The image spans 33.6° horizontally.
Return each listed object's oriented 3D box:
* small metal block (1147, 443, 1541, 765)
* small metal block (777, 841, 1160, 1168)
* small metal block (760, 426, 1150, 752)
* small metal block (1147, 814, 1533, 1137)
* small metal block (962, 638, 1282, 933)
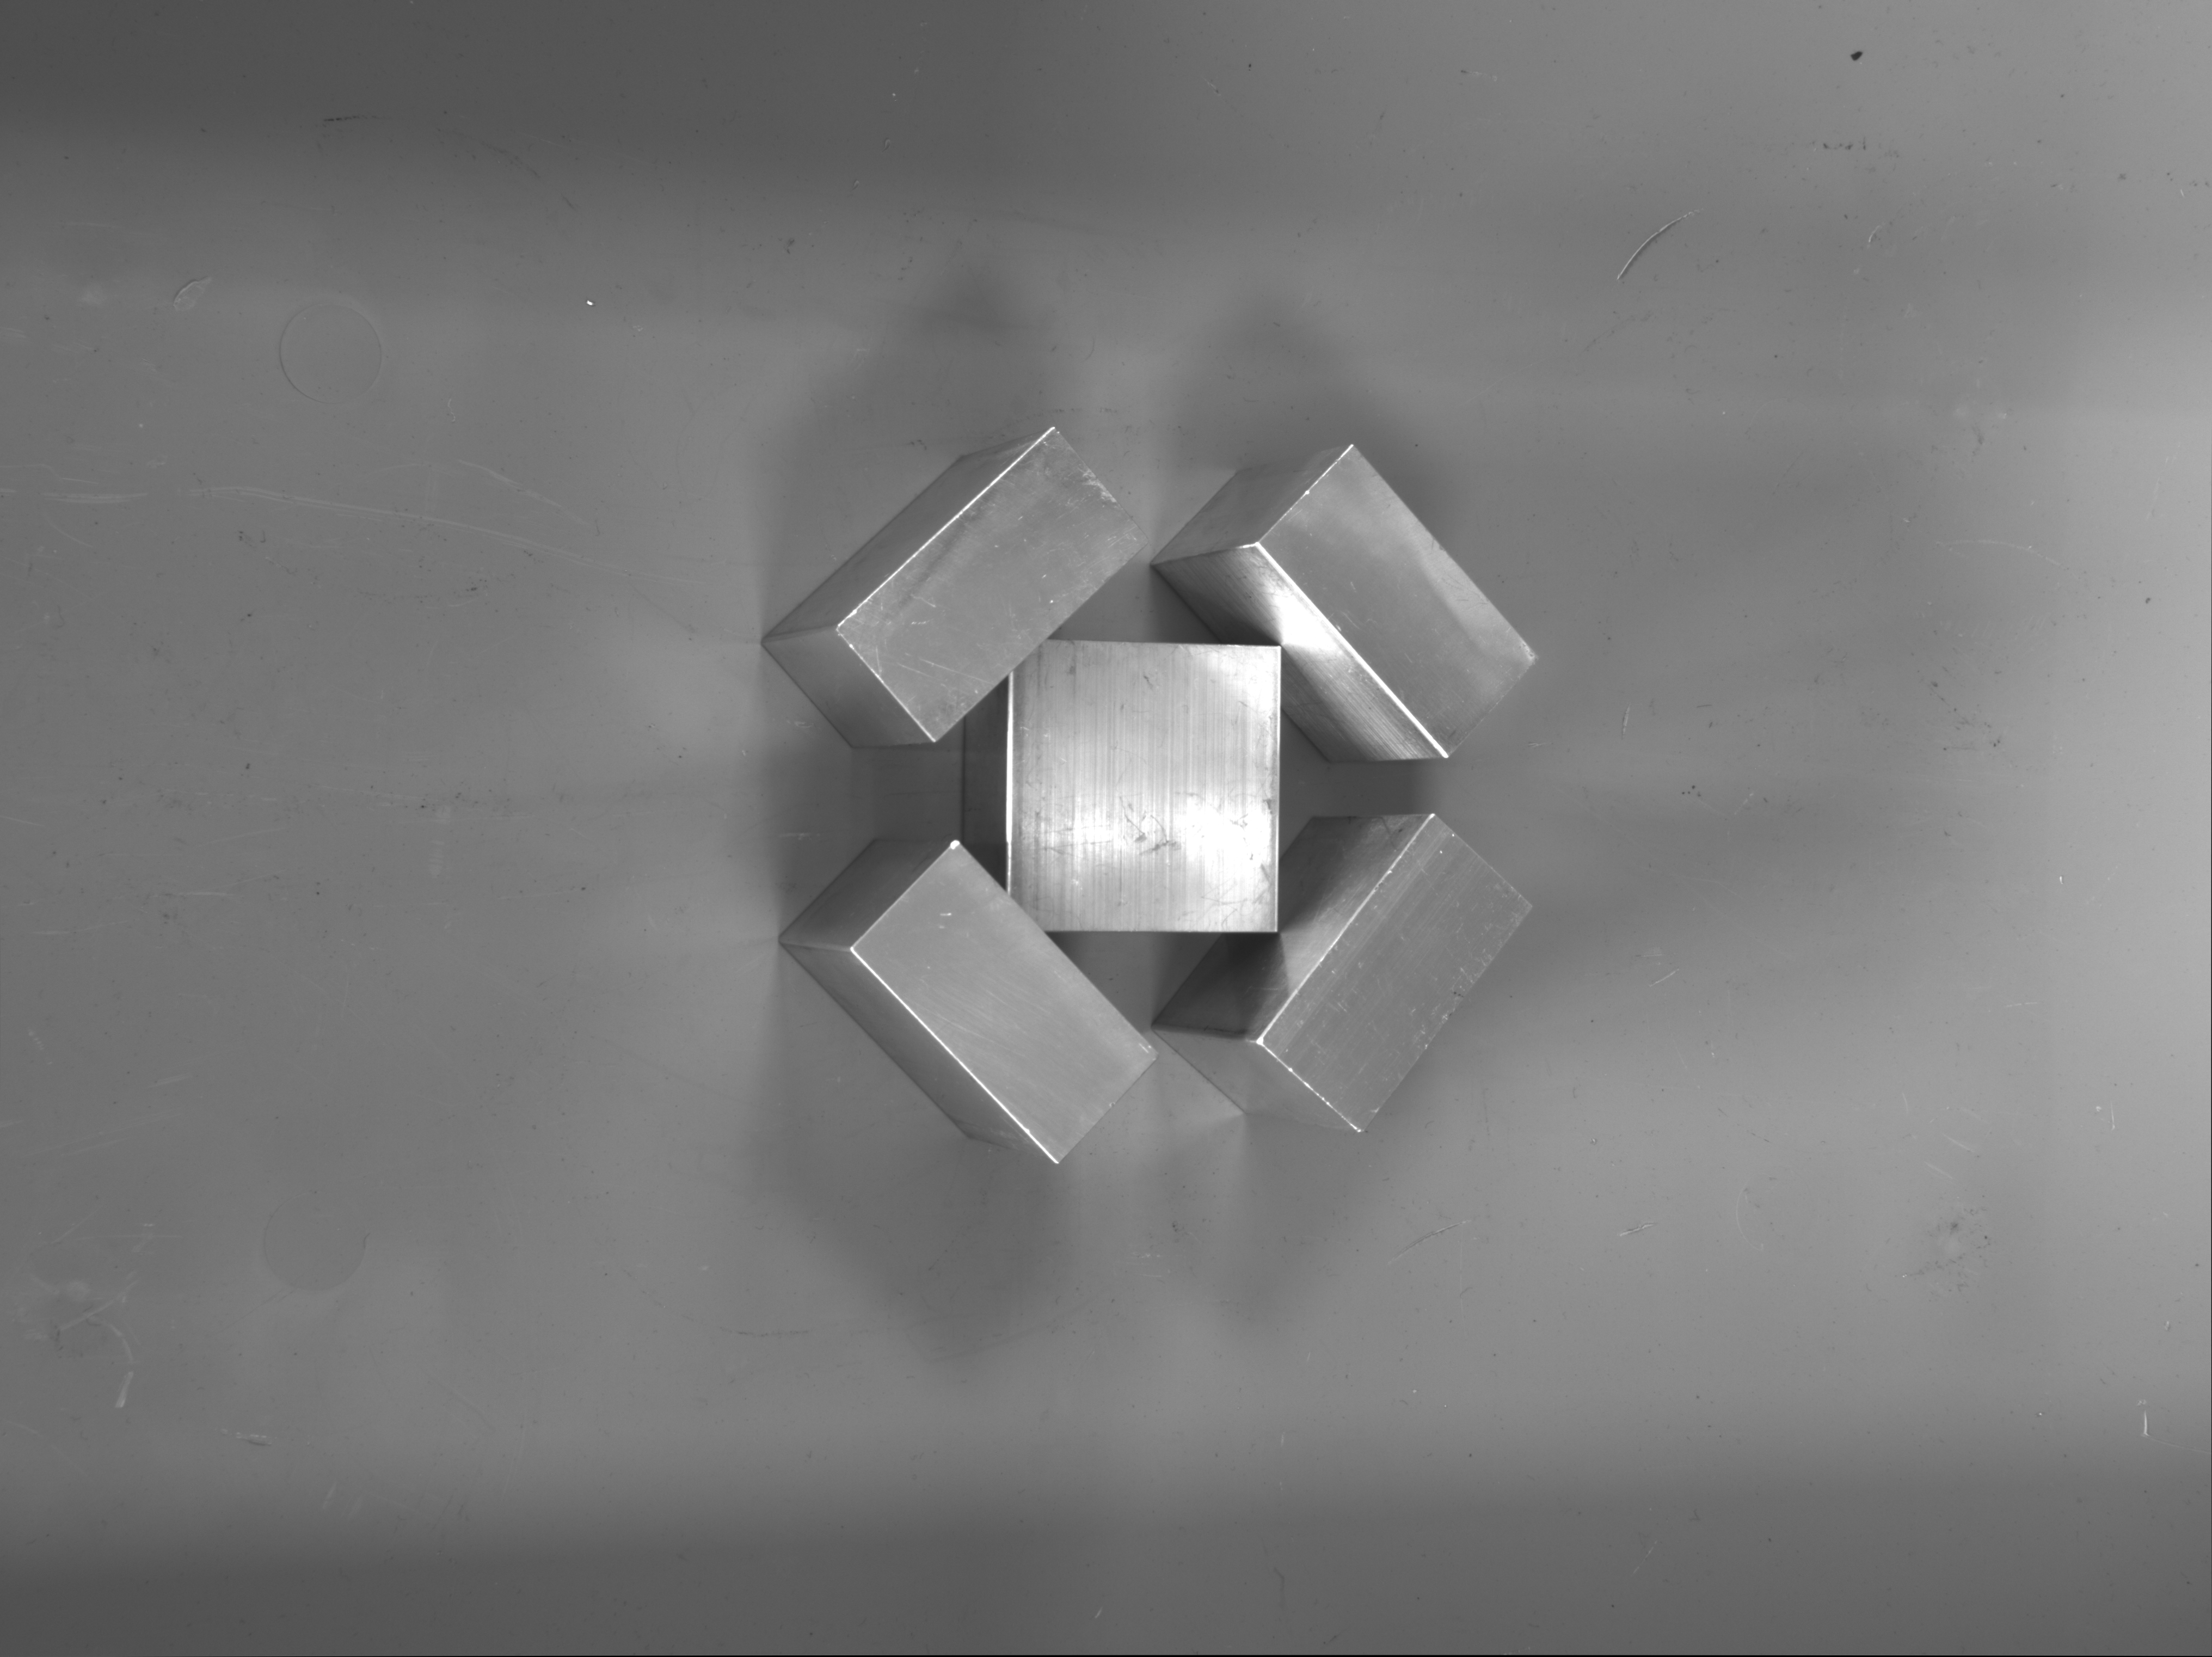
[{"bbox_3d":[0.041,-0.038,0.642,0.025,0.050,0.050,-47,105,-15],"label":"small metal block"},{"bbox_3d":[-0.024,0.029,0.619,0.025,0.050,0.050,-46,104,-13],"label":"small metal block"},{"bbox_3d":[-0.026,-0.039,0.618,0.050,0.050,0.025,-44,103,-14],"label":"small metal block"},{"bbox_3d":[0.040,0.025,0.642,0.025,0.050,0.050,42,76,-16],"label":"small metal block"},{"bbox_3d":[0.002,-0.007,0.642,0.050,0.025,0.050,1,90,-20],"label":"small metal block"}]
